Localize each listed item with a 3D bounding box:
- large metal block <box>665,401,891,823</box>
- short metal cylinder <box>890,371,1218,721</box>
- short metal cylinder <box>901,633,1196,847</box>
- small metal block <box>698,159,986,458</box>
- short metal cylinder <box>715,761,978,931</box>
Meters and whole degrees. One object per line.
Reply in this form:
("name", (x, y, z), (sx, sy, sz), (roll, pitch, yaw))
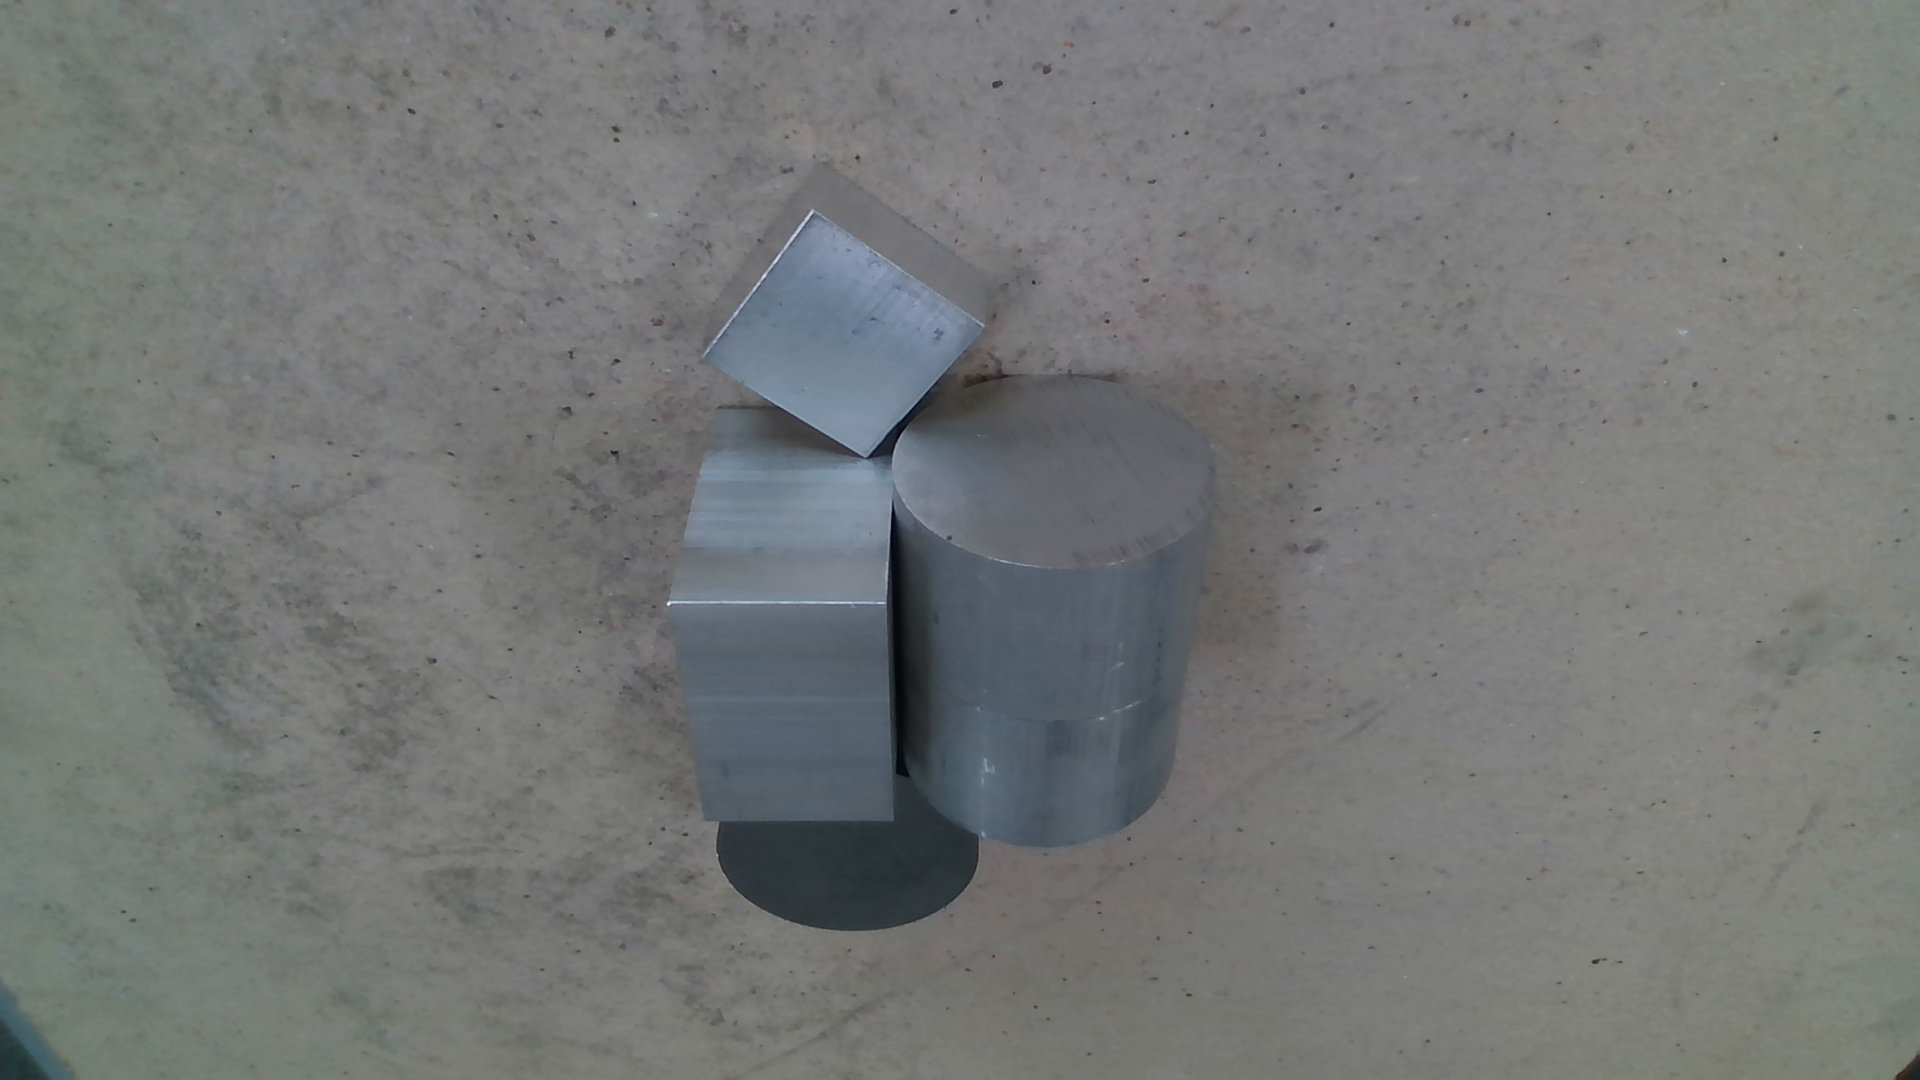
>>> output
("large metal block", (-0.043, 0.019, 0.370), (0.050, 0.080, 0.080), (1, 130, 0))
("short metal cylinder", (0.023, 0.000, 0.353), (0.080, 0.080, 0.050), (1, 130, 0))
("short metal cylinder", (0.023, 0.038, 0.386), (0.080, 0.080, 0.050), (1, 130, 0))
("small metal block", (-0.029, -0.056, 0.342), (0.050, 0.025, 0.050), (31, 124, -23))
("short metal cylinder", (-0.035, 0.080, 0.440), (0.080, 0.050, 0.080), (0, 130, 0))
